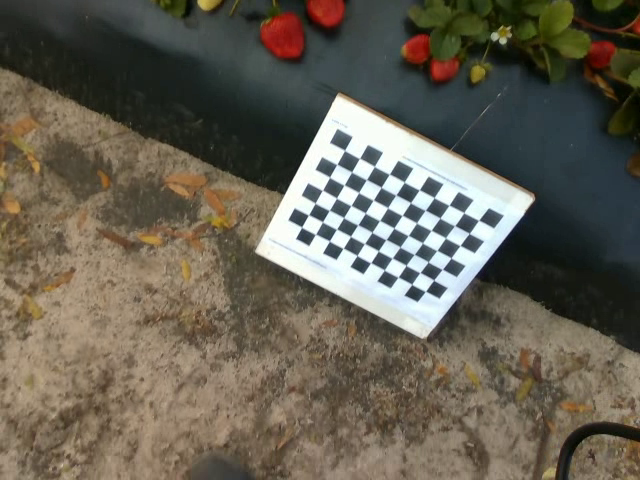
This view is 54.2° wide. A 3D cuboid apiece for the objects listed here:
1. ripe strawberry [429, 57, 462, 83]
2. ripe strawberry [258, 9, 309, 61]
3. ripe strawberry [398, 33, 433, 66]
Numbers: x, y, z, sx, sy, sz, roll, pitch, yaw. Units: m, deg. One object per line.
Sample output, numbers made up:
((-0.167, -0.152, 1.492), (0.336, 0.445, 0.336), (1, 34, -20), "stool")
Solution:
((0.153, -0.218, 0.755), (0.043, 0.049, 0.041), (24, -28, 1), "ripe strawberry")
((-0.048, -0.261, 0.766), (0.058, 0.065, 0.043), (-25, 5, 33), "ripe strawberry")
((0.119, -0.246, 0.761), (0.053, 0.047, 0.039), (-10, 40, -16), "ripe strawberry")
